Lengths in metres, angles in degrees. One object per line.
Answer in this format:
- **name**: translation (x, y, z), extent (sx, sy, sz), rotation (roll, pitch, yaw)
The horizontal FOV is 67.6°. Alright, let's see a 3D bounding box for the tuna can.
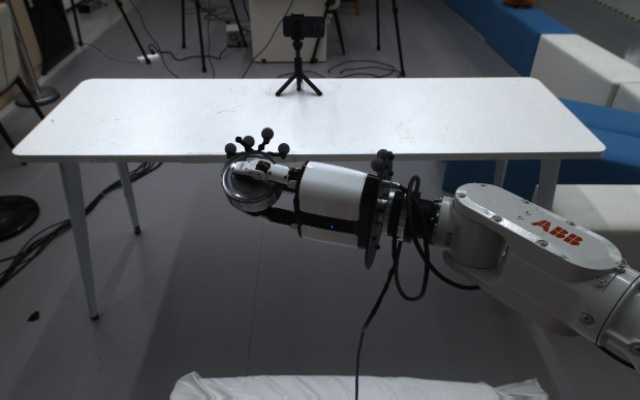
- **tuna can**: translation (-0.092, -0.026, 0.686), extent (0.085, 0.034, 0.085), rotation (-2, 58, 3)
